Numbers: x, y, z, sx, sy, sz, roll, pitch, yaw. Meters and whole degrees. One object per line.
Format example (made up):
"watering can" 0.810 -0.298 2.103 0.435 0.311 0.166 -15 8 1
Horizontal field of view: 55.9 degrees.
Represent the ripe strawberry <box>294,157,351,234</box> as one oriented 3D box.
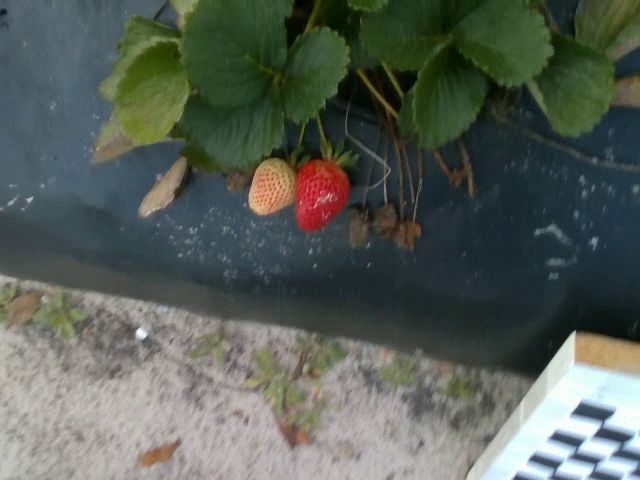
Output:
"ripe strawberry" -0.001 -0.024 0.320 0.034 0.042 0.033 33 -11 -17
